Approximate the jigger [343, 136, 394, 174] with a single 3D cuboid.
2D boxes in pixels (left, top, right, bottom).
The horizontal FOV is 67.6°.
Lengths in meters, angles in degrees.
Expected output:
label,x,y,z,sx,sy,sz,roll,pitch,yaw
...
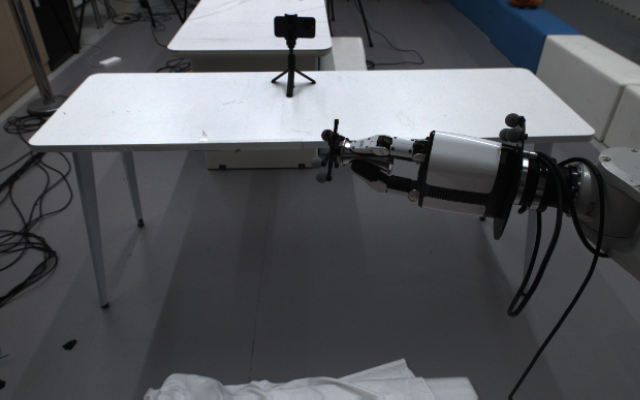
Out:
label,x,y,z,sx,sy,sz,roll,pitch,yaw
jigger,0.072,-0.067,0.667,0.071,0.043,0.043,9,35,16
